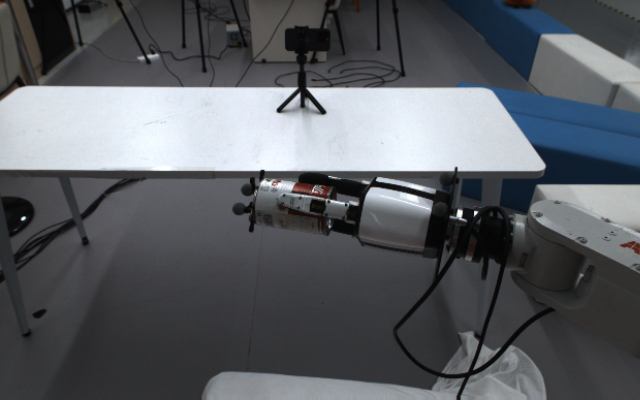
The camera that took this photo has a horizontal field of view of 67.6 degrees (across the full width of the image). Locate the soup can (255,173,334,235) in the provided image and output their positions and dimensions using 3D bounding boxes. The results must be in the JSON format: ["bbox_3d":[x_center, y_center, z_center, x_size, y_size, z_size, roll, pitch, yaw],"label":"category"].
[{"bbox_3d":[-0.032,0.008,0.661,0.101,0.067,0.067,7,35,11],"label":"soup can"}]
